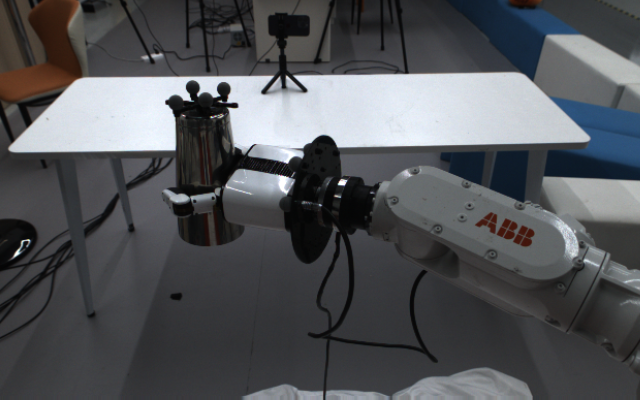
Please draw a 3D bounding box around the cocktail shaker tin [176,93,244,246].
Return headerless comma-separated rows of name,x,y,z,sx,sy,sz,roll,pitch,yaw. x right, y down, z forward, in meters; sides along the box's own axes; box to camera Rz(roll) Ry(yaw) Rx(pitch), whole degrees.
cocktail shaker tin,-0.146,-0.035,0.636,0.093,0.170,0.093,2,28,-1
